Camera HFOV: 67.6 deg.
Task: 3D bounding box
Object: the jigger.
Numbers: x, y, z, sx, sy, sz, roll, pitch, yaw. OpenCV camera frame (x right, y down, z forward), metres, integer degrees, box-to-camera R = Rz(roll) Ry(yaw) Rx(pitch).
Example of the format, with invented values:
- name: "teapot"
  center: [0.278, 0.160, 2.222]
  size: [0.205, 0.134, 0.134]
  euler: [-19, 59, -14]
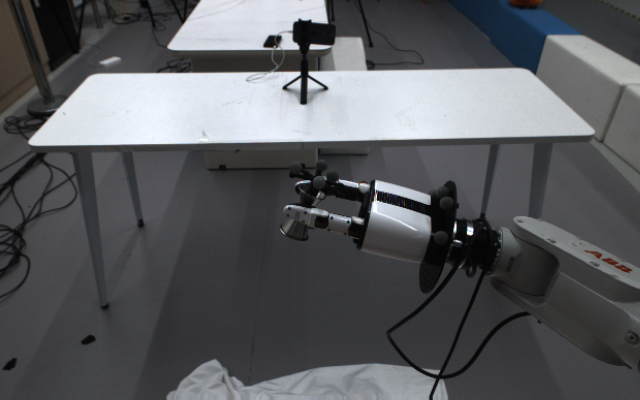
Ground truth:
- name: "jigger"
  center: [-0.024, 0.017, 0.668]
  size: [0.043, 0.071, 0.043]
  euler: [23, 19, -8]
